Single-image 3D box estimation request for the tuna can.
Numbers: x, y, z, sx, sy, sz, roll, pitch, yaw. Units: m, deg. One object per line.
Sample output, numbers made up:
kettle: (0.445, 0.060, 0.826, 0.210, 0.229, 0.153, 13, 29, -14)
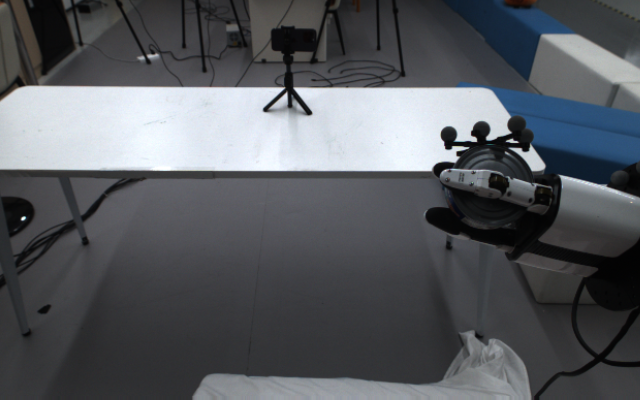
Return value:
tuna can: (0.177, -0.014, 0.511, 0.085, 0.034, 0.085, -1, 77, 4)
